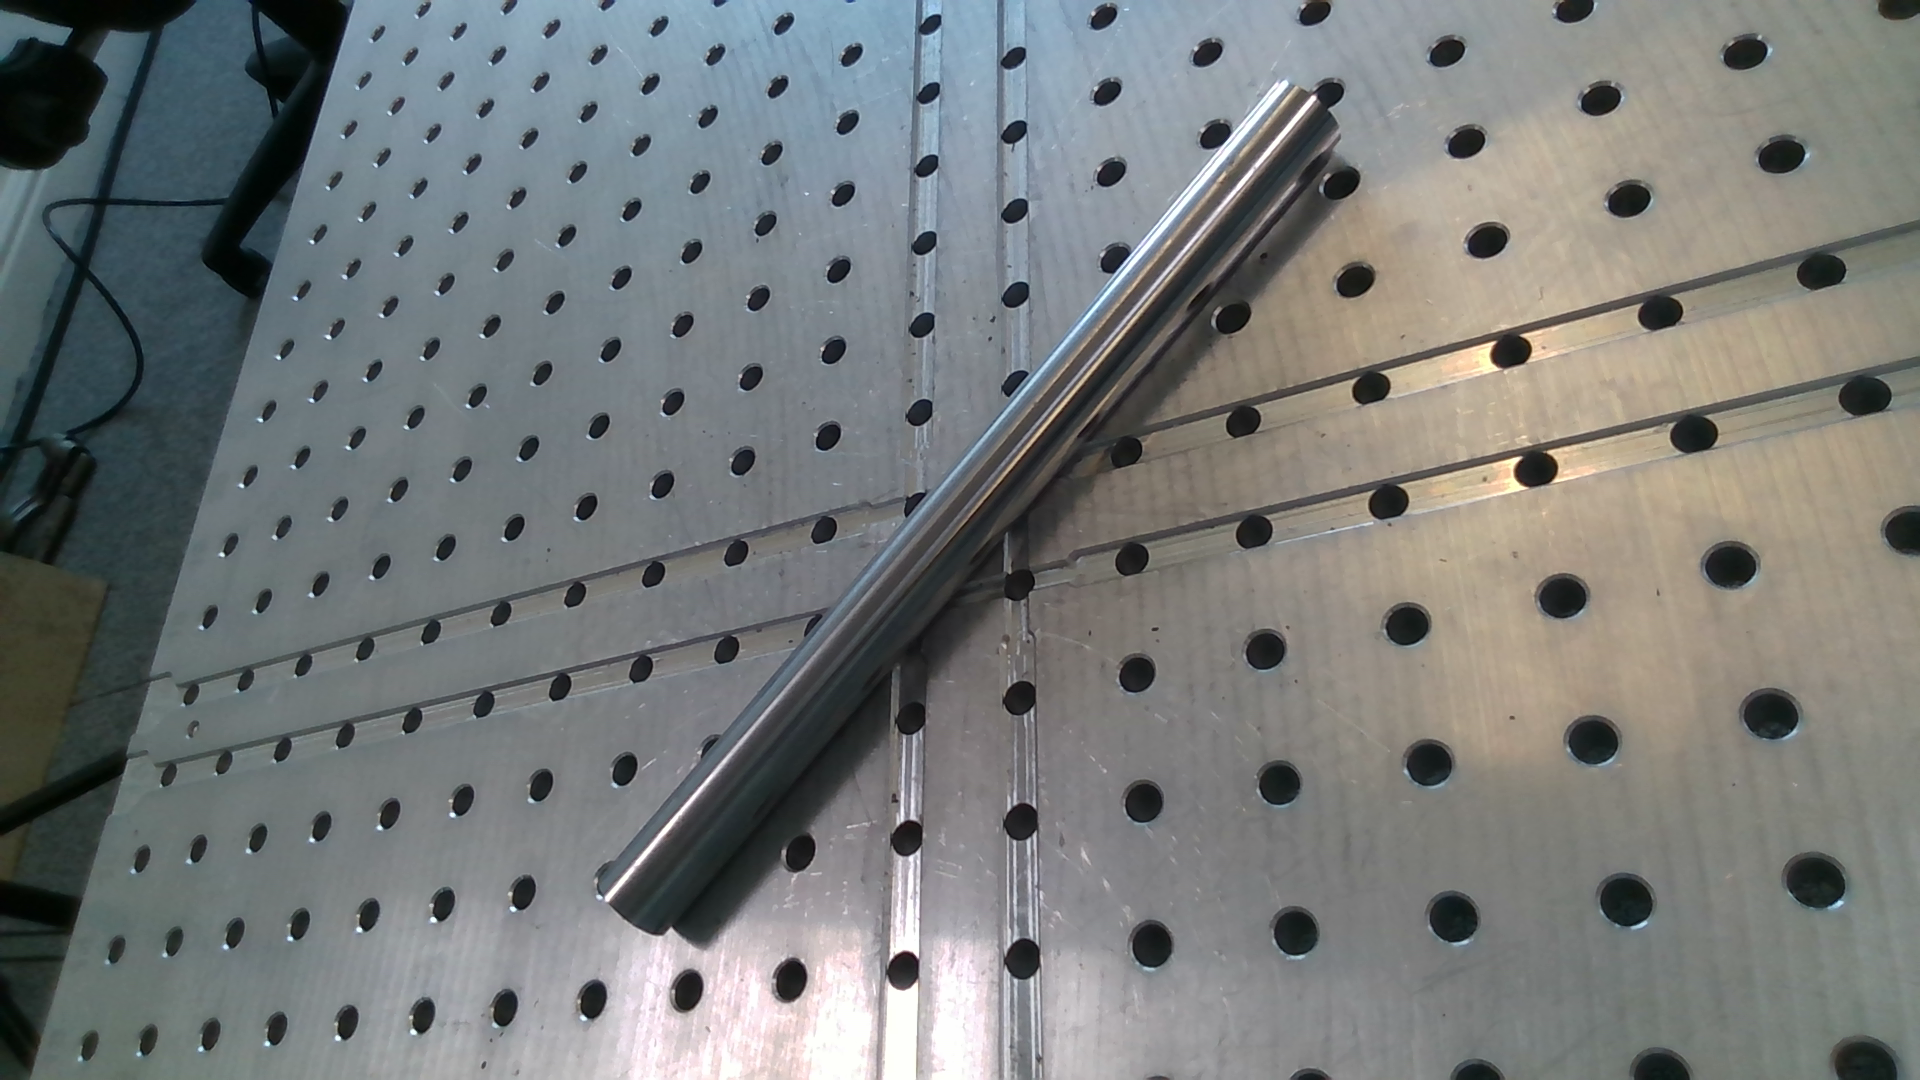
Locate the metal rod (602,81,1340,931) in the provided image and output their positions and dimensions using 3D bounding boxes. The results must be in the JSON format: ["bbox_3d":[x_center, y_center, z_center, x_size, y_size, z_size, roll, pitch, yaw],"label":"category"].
[{"bbox_3d":[0.003,-0.010,0.399,0.300,0.025,0.025,-50,51,0],"label":"metal rod"}]
